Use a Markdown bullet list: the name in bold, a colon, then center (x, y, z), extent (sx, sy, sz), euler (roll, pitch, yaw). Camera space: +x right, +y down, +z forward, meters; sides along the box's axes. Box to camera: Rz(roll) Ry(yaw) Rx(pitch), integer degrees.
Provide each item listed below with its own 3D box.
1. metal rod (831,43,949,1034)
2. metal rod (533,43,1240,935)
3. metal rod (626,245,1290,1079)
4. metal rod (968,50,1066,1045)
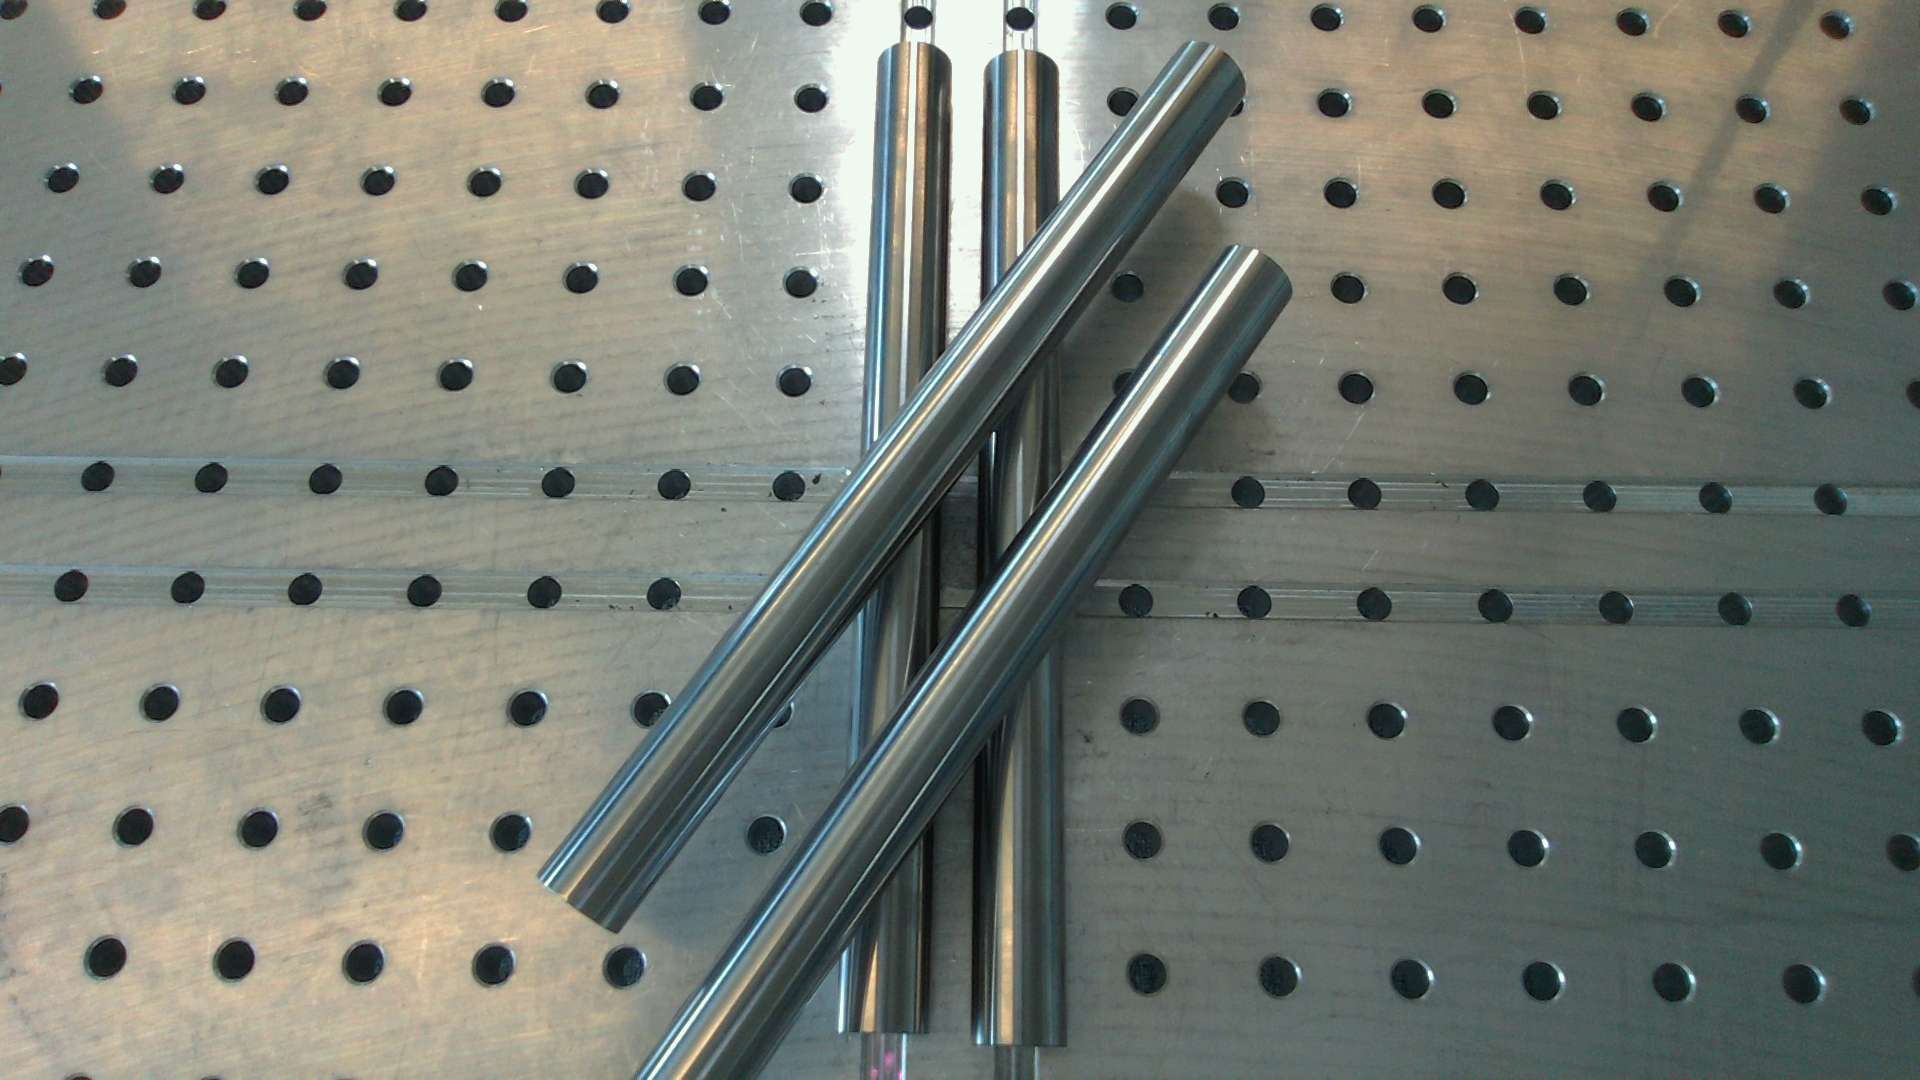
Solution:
- **metal rod**: center (-0.018, -0.015, 0.403), extent (0.025, 0.025, 0.300), euler (1, 70, 0)
- **metal rod**: center (-0.010, -0.027, 0.381), extent (0.025, 0.025, 0.300), euler (33, 73, 11)
- **metal rod**: center (0.000, 0.040, 0.356), extent (0.025, 0.025, 0.300), euler (33, 73, 11)
- **metal rod**: center (0.017, -0.012, 0.402), extent (0.025, 0.025, 0.300), euler (1, 70, 0)
